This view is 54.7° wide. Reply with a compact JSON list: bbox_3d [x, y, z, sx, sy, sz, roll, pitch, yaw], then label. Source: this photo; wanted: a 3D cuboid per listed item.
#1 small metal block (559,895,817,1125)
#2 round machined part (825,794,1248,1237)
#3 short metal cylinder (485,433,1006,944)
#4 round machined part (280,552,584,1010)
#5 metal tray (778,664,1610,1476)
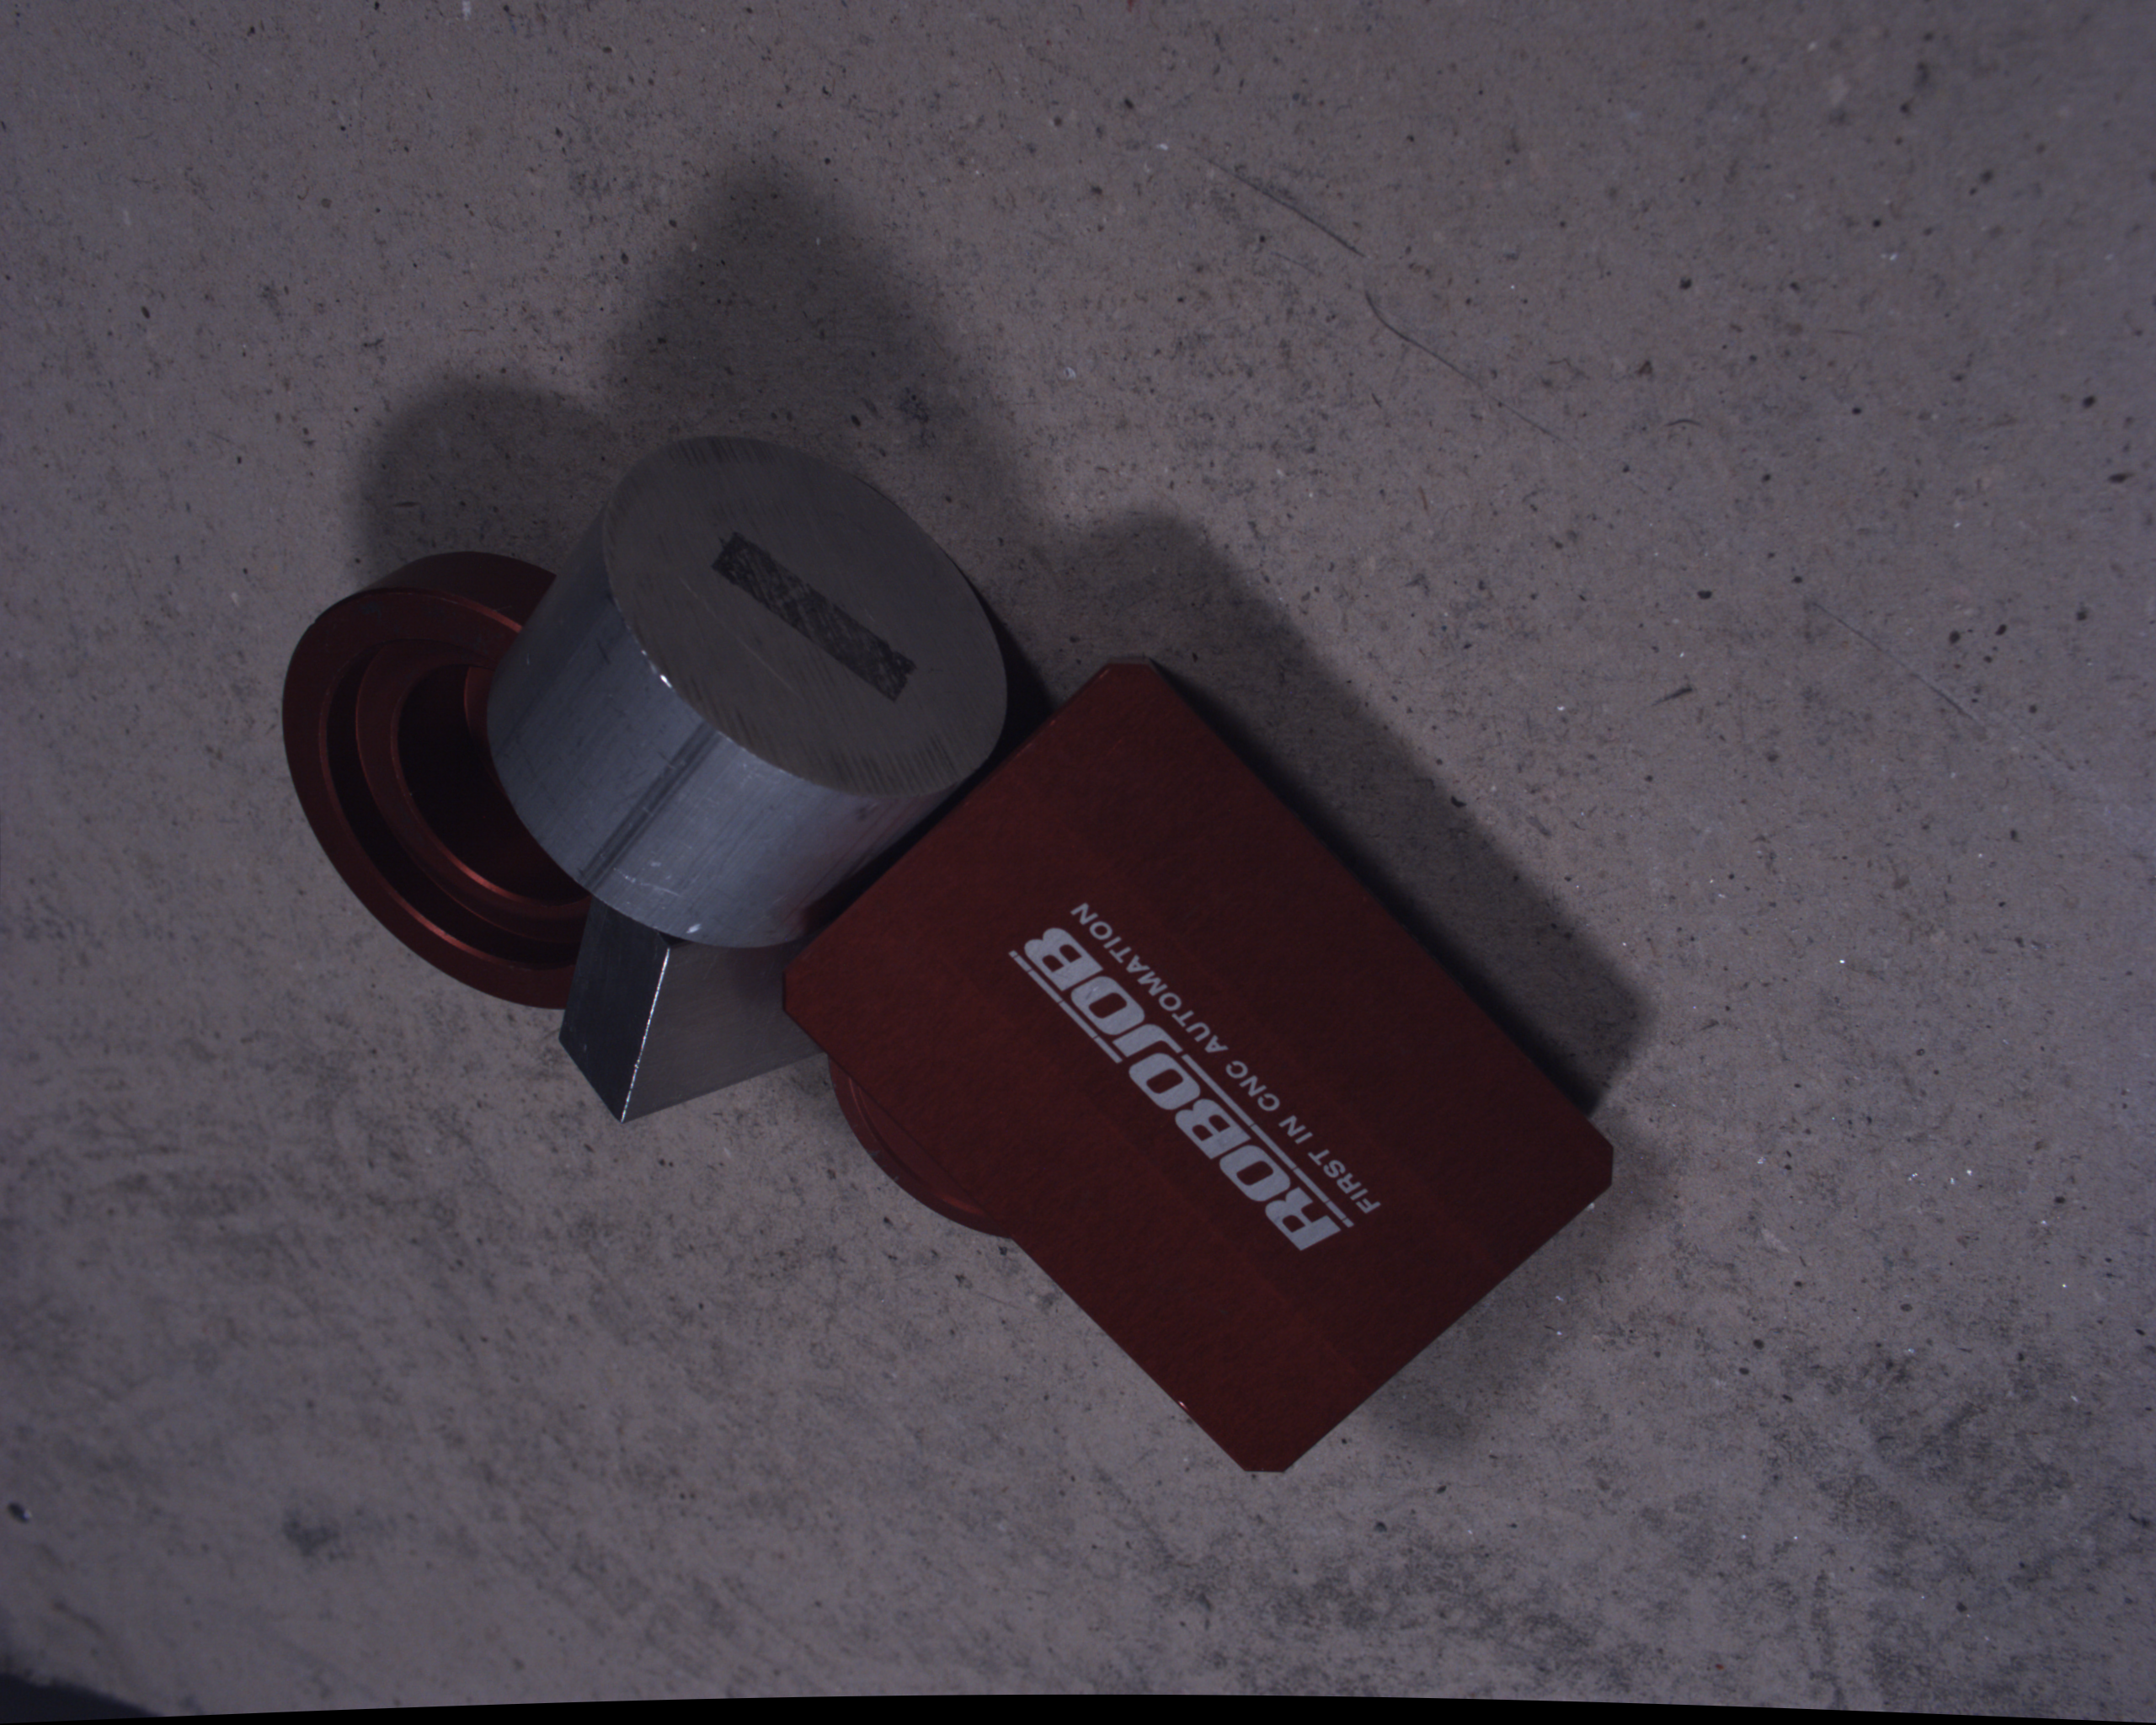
[{"bbox_3d":[-0.071,0.020,0.417,0.025,0.050,0.050,46,133,28],"label":"small metal block"},{"bbox_3d":[-0.012,0.038,0.425,0.098,0.042,0.097,13,124,20],"label":"round machined part"},{"bbox_3d":[-0.061,-0.032,0.384,0.080,0.080,0.050,44,129,-3],"label":"short metal cylinder"},{"bbox_3d":[-0.116,-0.021,0.443,0.098,0.042,0.097,13,124,20],"label":"round machined part"},{"bbox_3d":[0.021,0.037,0.387,0.090,0.030,0.130,-43,95,7],"label":"metal tray"}]
